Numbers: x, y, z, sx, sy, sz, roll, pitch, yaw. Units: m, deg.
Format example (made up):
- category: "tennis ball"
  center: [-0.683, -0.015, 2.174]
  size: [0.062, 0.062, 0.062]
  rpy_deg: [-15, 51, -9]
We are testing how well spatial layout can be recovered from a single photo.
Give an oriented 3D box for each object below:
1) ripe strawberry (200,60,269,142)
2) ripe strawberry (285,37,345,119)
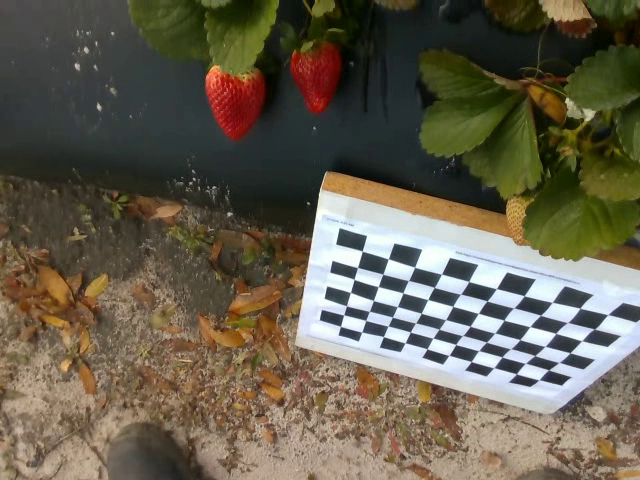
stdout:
- category: "ripe strawberry"
  center: [-0.064, -0.103, 0.454]
  size: [0.050, 0.061, 0.045]
  rpy_deg: [11, 17, 14]
- category: "ripe strawberry"
  center: [-0.004, -0.114, 0.427]
  size: [0.042, 0.053, 0.034]
  rpy_deg: [8, 19, 19]
